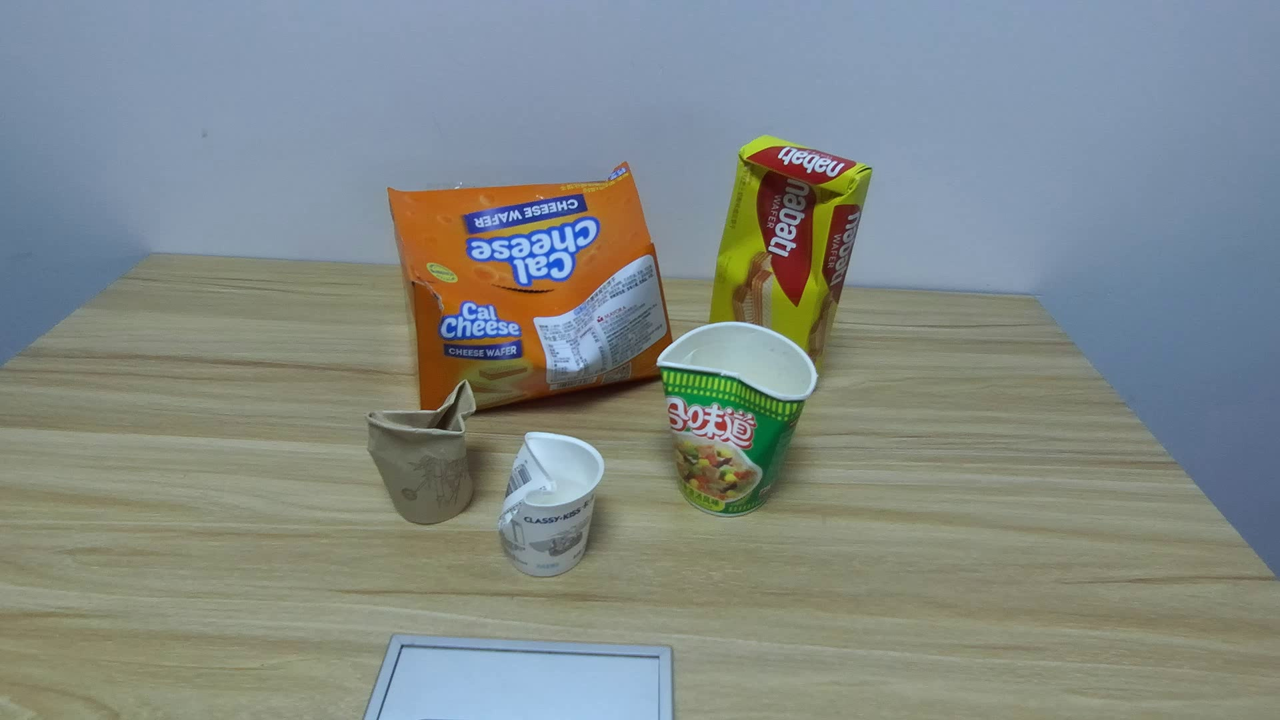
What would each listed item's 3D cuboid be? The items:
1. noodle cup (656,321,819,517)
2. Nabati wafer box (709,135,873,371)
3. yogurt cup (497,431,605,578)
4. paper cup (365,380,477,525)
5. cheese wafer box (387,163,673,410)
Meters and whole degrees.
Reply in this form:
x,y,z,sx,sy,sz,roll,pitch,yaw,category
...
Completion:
x,y,z,sx,sy,sz,roll,pitch,yaw,category
0.067,0.044,0.483,0.087,0.109,0.093,-29,45,-36,noodle cup
0.111,-0.065,0.564,0.096,0.203,0.042,29,40,30,Nabati wafer box
-0.056,0.093,0.446,0.067,0.070,0.067,2,33,-1,yogurt cup
-0.141,0.060,0.476,0.066,0.083,0.058,4,34,1,paper cup
-0.085,-0.060,0.597,0.219,0.145,0.190,-9,37,-17,cheese wafer box
